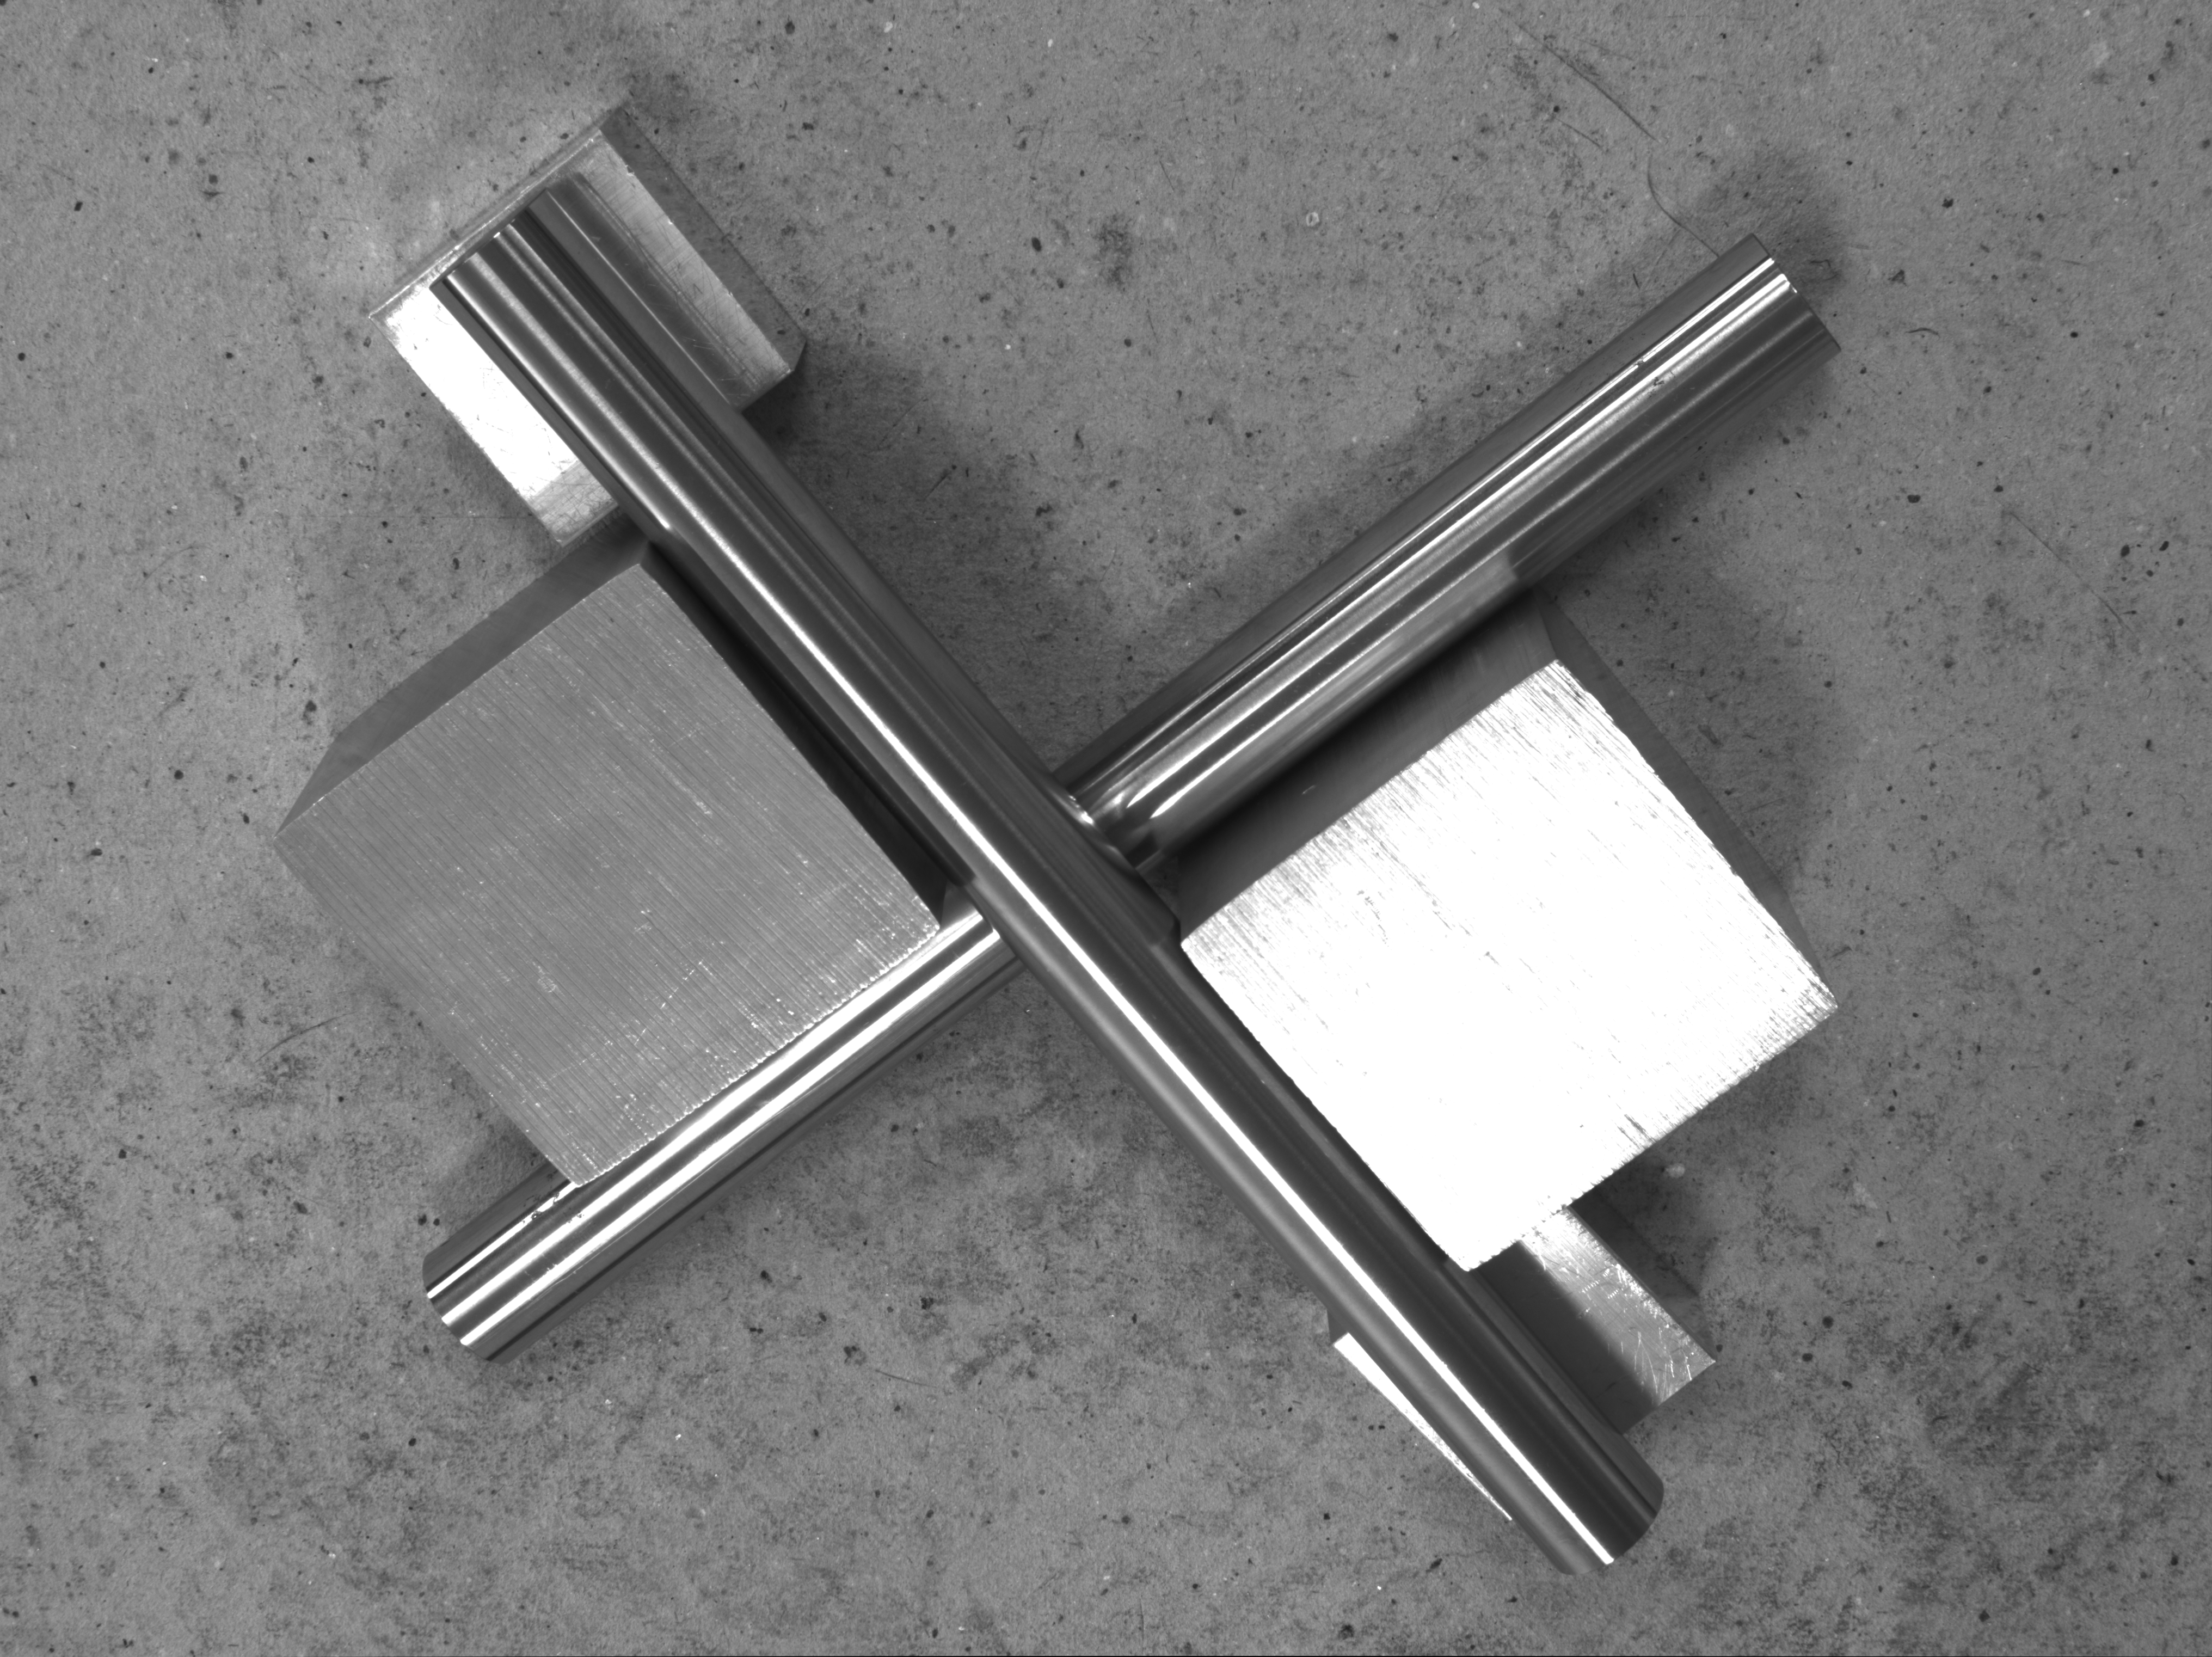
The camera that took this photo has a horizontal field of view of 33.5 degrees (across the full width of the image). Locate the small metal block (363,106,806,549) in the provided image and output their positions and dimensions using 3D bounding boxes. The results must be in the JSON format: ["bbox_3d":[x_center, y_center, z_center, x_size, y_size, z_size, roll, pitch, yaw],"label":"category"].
[{"bbox_3d":[-0.086,-0.084,0.615,0.050,0.025,0.050,-36,106,12],"label":"small metal block"}]

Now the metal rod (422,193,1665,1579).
[{"bbox_3d":[-0.004,0.017,0.623,0.025,0.025,0.300,-37,106,13],"label":"metal rod"}]

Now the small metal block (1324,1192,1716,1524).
[{"bbox_3d":[0.076,0.091,0.678,0.050,0.025,0.050,-41,105,14],"label":"small metal block"}]

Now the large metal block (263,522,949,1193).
[{"bbox_3d":[-0.082,0.001,0.629,0.080,0.050,0.080,-36,106,12],"label":"large metal block"}]

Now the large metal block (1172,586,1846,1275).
[{"bbox_3d":[0.068,0.016,0.637,0.080,0.050,0.080,-37,106,13],"label":"large metal block"}]

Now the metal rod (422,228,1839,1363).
[{"bbox_3d":[-0.001,-0.001,0.645,0.300,0.025,0.025,-38,106,12],"label":"metal rod"}]
